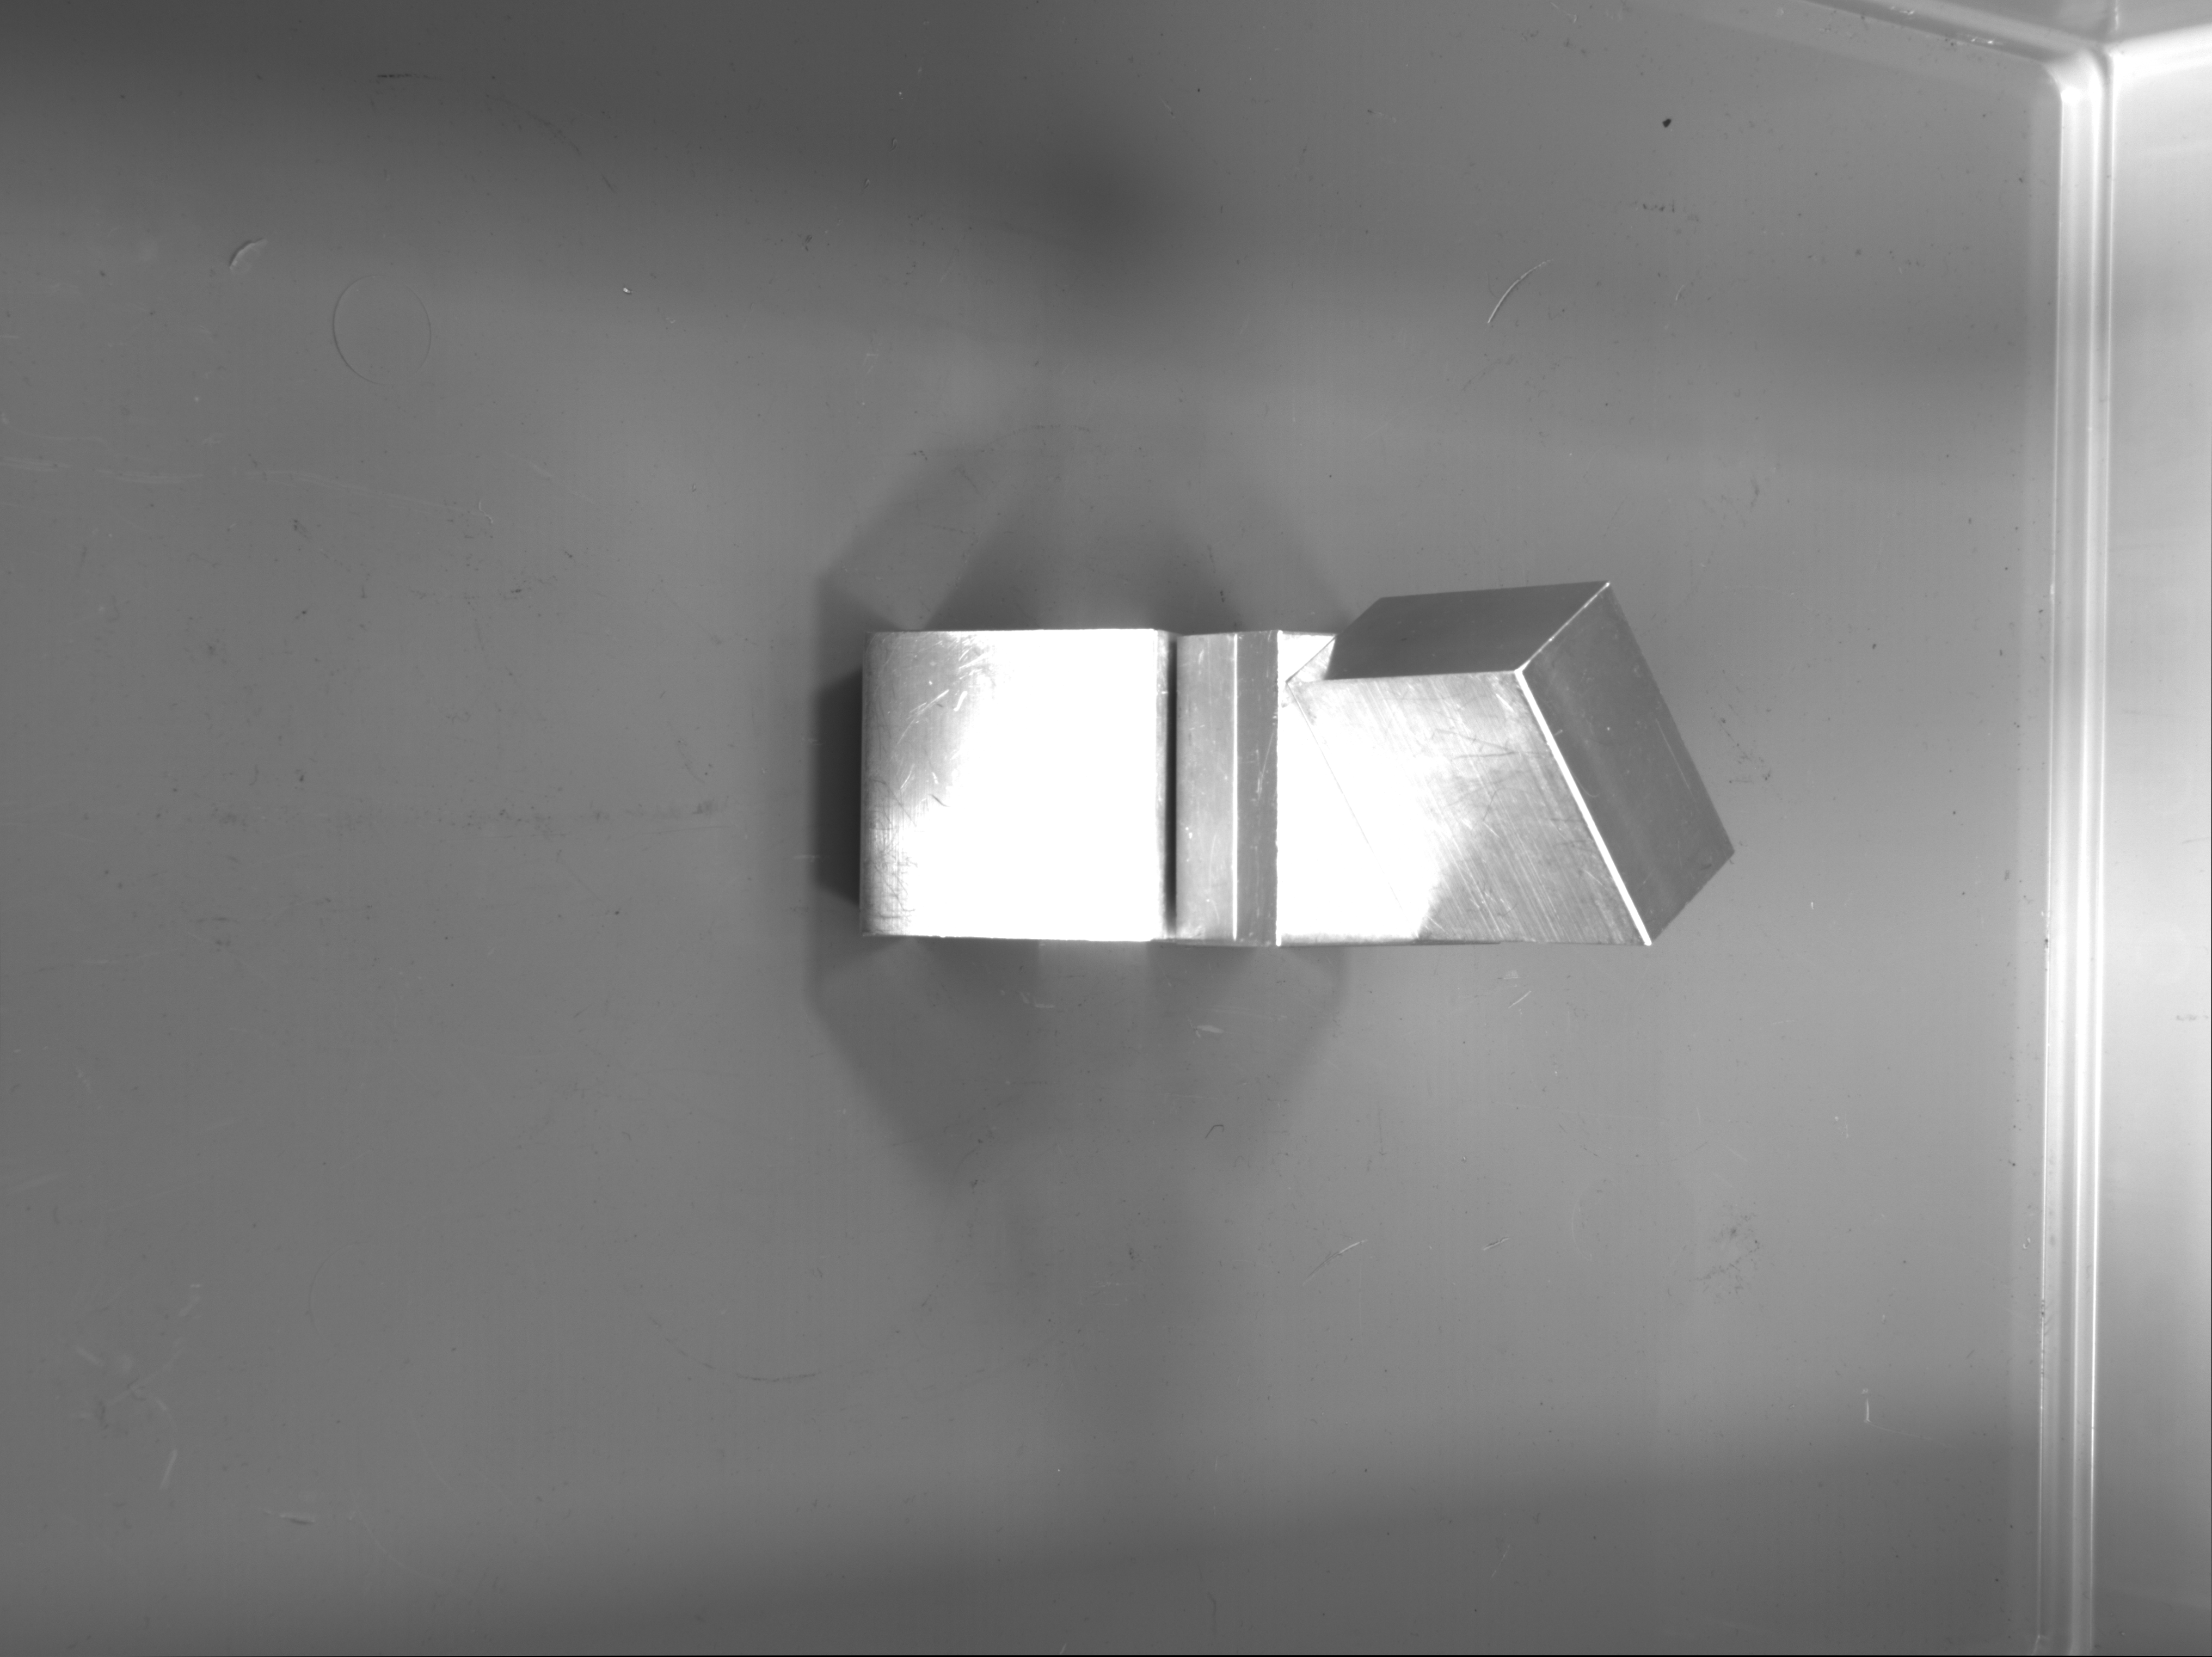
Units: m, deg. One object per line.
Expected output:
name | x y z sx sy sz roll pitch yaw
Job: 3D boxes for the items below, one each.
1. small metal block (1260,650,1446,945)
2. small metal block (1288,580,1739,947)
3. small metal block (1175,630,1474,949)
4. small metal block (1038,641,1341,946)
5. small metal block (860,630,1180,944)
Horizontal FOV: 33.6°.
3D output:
small metal block | 0.043 -0.005 0.651 0.025 0.050 0.050 1 89 -5
small metal block | 0.063 -0.010 0.572 0.025 0.050 0.050 -42 115 -31
small metal block | 0.039 -0.006 0.600 0.050 0.025 0.050 1 89 -40
small metal block | 0.014 -0.005 0.629 0.025 0.050 0.050 1 89 -40
small metal block | -0.012 -0.007 0.604 0.025 0.050 0.050 2 88 -73
